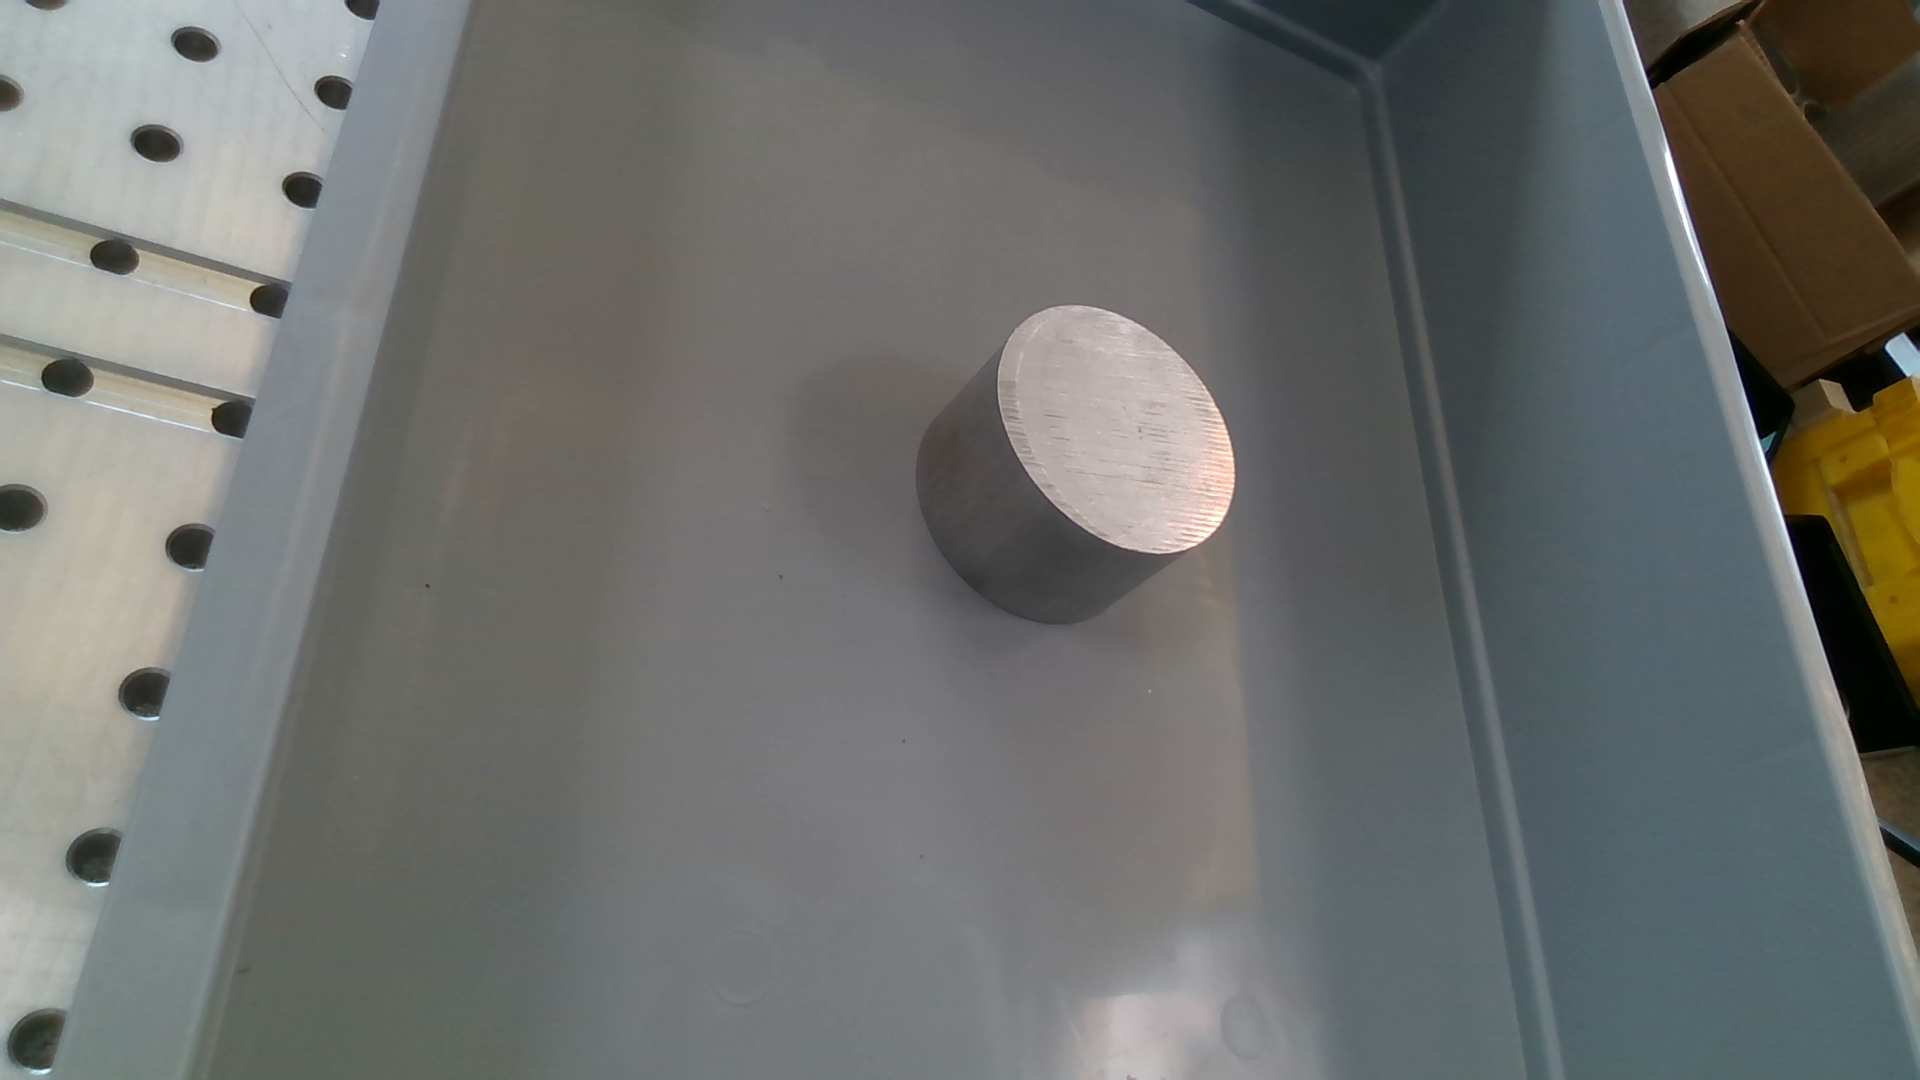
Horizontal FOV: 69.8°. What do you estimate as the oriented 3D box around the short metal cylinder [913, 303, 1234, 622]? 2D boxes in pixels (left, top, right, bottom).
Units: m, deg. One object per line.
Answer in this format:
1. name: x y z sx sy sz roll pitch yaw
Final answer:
1. short metal cylinder: 0.033 -0.022 0.407 0.080 0.050 0.080 14 59 -25
